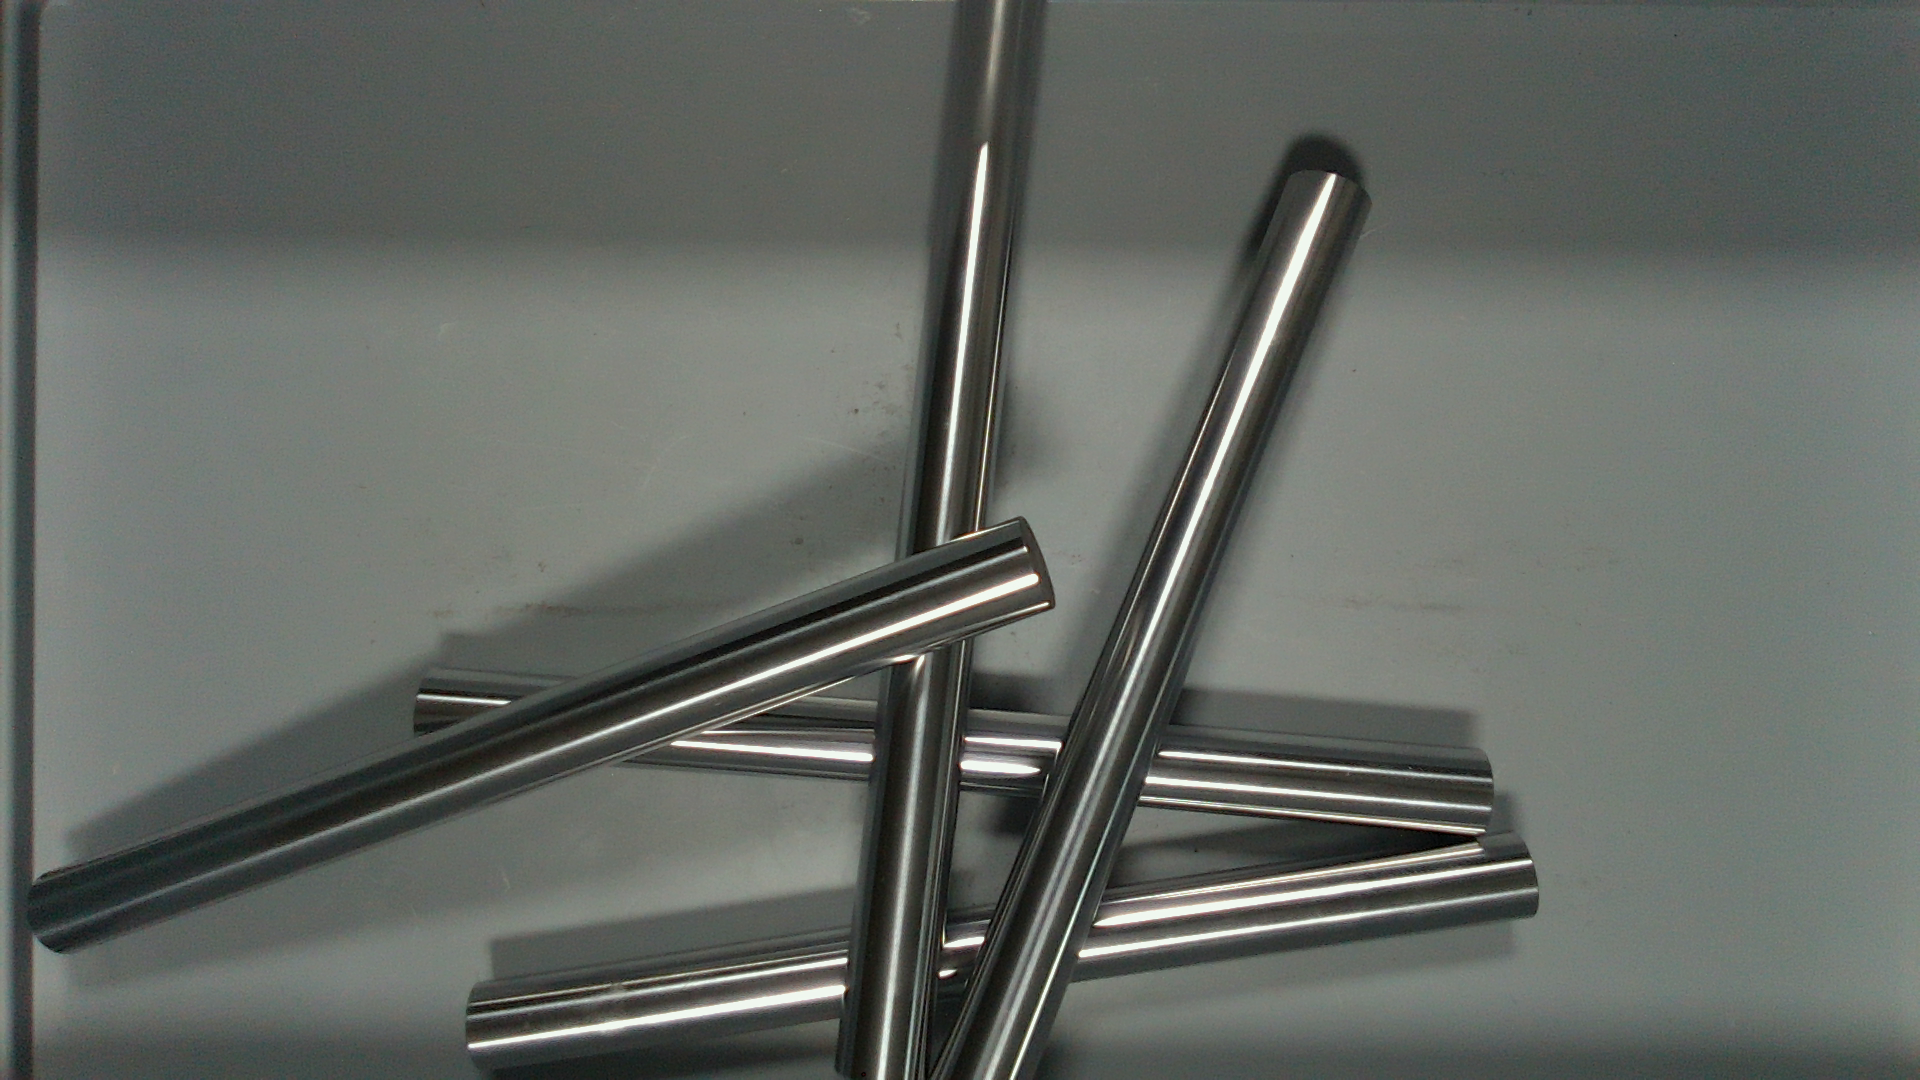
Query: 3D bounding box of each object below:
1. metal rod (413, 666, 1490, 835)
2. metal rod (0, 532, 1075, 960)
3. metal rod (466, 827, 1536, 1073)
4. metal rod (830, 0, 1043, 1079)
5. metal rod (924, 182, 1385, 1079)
[{"bbox_3d":[-0.002,0.060,0.394,0.300,0.025,0.025,5,90,0],"label":"metal rod"},{"bbox_3d":[-0.115,0.057,0.369,0.300,0.025,0.025,-19,90,5],"label":"metal rod"},{"bbox_3d":[0.012,0.117,0.395,0.300,0.025,0.025,-9,90,0],"label":"metal rod"},{"bbox_3d":[-0.005,-0.010,0.377,0.025,0.025,0.300,6,84,0],"label":"metal rod"},{"bbox_3d":[0.049,0.040,0.375,0.025,0.025,0.300,24,82,0],"label":"metal rod"}]
